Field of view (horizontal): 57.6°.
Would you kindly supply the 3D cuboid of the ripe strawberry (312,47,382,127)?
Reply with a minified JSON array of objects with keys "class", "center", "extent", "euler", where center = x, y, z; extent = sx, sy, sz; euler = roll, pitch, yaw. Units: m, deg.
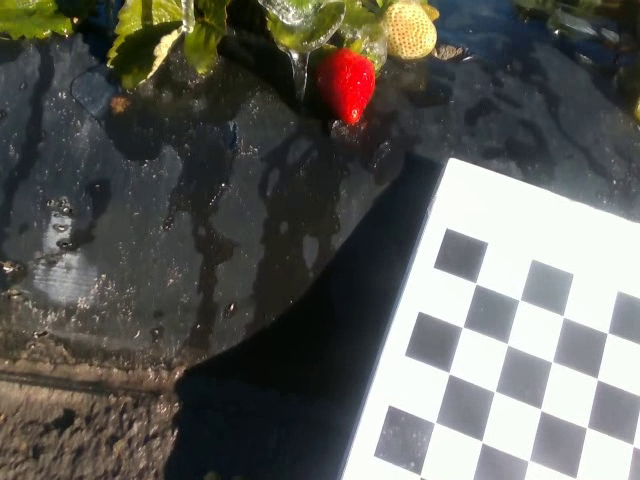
[{"class":"ripe strawberry","center":[0.018,-0.092,0.325],"extent":[0.041,0.052,0.040],"euler":[4,-29,-2]}]
